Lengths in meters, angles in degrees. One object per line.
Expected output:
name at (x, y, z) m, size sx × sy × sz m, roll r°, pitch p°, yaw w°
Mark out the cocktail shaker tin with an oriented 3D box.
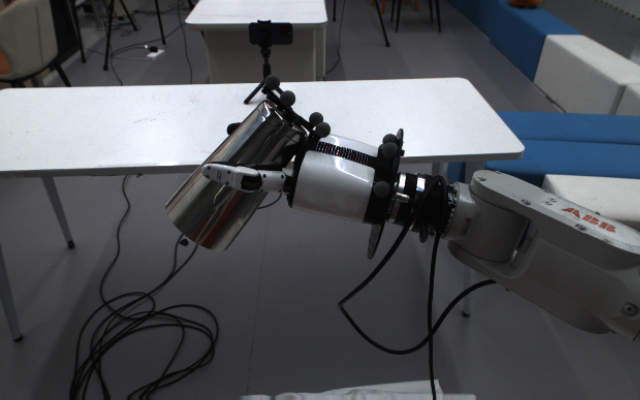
cocktail shaker tin at (-0.093, -0.035, 0.574) m, size 0.093 × 0.170 × 0.093 m, roll 41°, pitch 12°, yaw -11°
